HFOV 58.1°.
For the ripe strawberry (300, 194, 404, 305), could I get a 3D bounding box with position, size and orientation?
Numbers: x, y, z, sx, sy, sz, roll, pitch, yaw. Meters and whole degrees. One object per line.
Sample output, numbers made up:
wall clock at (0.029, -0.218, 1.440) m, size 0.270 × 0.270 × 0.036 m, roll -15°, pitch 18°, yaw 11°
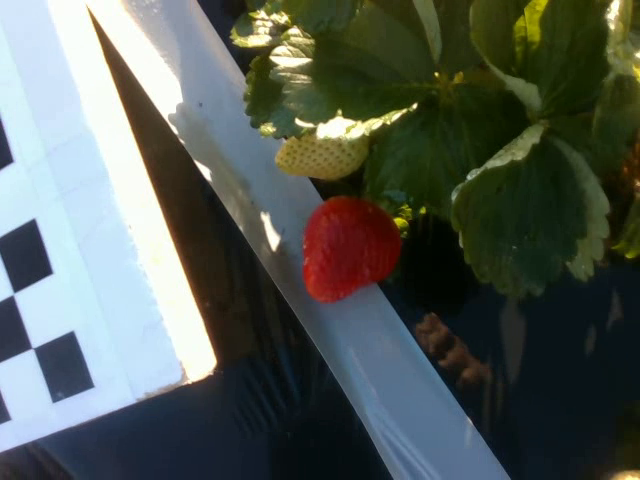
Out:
ripe strawberry at (0.010, 0.005, 0.230) m, size 0.045 × 0.049 × 0.064 m, roll 3°, pitch 35°, yaw 25°
